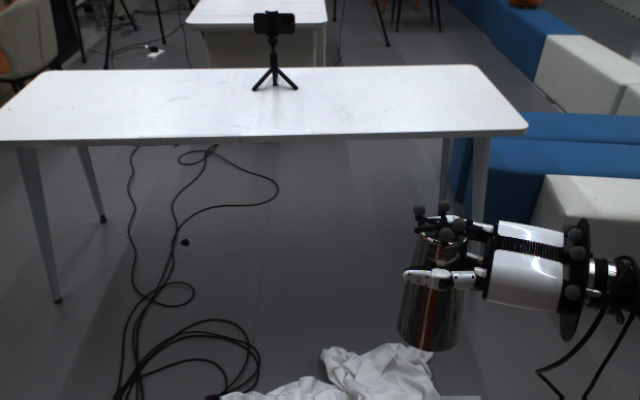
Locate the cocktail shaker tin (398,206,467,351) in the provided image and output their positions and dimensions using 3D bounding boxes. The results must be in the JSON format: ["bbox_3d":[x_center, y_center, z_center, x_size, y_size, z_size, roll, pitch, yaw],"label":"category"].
[{"bbox_3d":[0.167,0.115,0.690,0.093,0.170,0.093,1,27,-1],"label":"cocktail shaker tin"}]
